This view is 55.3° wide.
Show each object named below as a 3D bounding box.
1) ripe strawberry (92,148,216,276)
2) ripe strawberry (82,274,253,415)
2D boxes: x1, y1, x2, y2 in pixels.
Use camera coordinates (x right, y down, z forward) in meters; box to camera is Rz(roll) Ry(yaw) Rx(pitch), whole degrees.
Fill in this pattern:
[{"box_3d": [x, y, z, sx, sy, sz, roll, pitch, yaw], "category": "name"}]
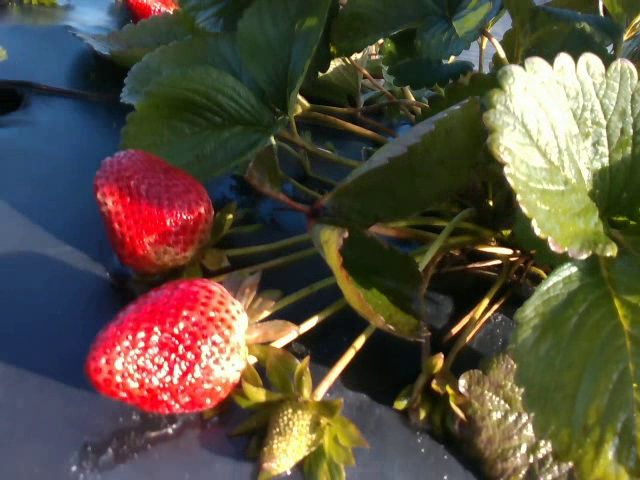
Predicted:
[{"box_3d": [-0.061, -0.012, 0.222, 0.054, 0.048, 0.039, 43, -28, -17], "category": "ripe strawberry"}, {"box_3d": [-0.042, 0.029, 0.168, 0.038, 0.043, 0.053, -41, -18, 27], "category": "ripe strawberry"}]
